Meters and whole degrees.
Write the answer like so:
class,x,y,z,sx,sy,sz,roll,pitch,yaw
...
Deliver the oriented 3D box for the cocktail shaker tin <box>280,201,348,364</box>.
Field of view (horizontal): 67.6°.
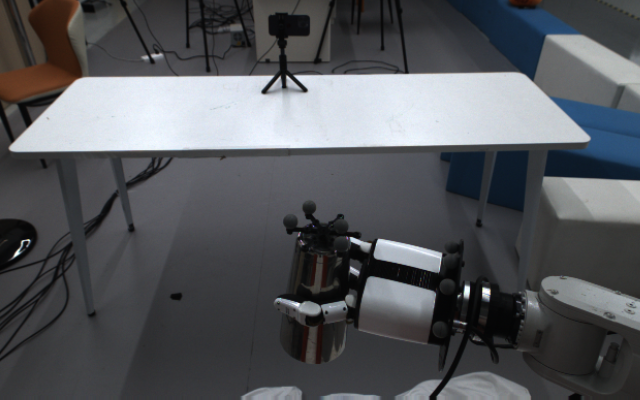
class,x,y,z,sx,sy,sz,roll,pitch,yaw
cocktail shaker tin,-0.002,0.116,0.620,0.093,0.170,0.093,4,31,-2
